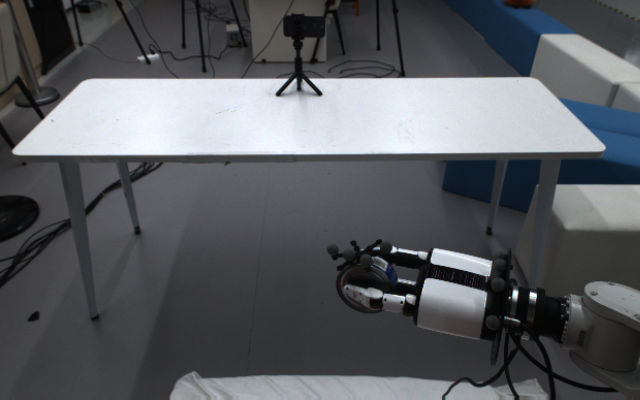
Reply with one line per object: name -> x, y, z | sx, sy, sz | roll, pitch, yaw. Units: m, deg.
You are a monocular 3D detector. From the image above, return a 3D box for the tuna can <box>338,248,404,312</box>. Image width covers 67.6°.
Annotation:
tuna can -> 0.071, 0.121, 0.704 | 0.085, 0.085, 0.034 | 13, 28, 15
